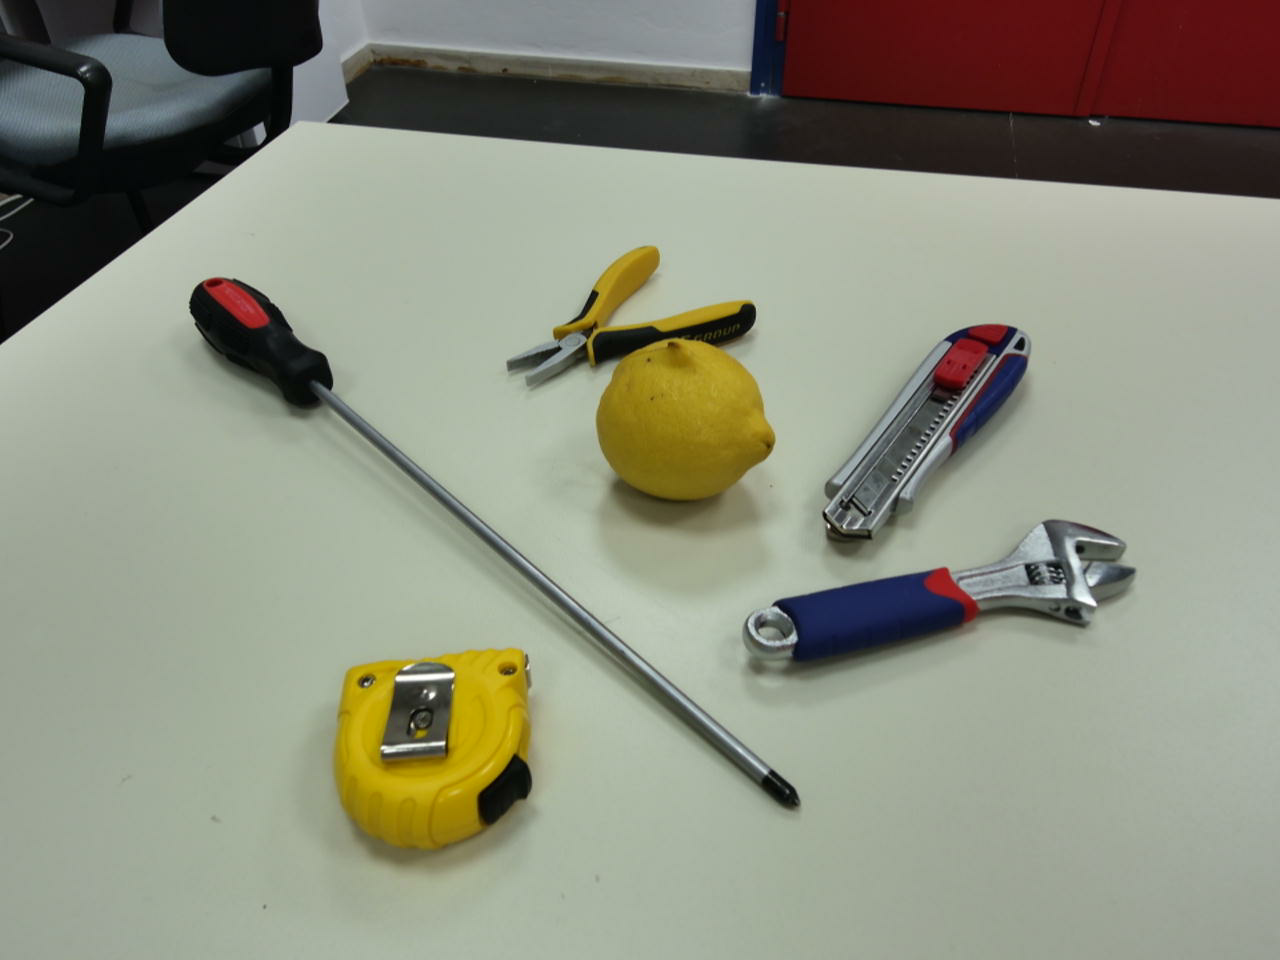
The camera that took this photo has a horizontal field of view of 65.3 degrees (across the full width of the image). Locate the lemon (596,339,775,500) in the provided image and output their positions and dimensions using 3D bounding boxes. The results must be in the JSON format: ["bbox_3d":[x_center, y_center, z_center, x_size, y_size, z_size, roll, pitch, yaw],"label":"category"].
[{"bbox_3d":[0.017,-0.028,0.424,0.070,0.071,0.071,-12,40,-16],"label":"lemon"}]
